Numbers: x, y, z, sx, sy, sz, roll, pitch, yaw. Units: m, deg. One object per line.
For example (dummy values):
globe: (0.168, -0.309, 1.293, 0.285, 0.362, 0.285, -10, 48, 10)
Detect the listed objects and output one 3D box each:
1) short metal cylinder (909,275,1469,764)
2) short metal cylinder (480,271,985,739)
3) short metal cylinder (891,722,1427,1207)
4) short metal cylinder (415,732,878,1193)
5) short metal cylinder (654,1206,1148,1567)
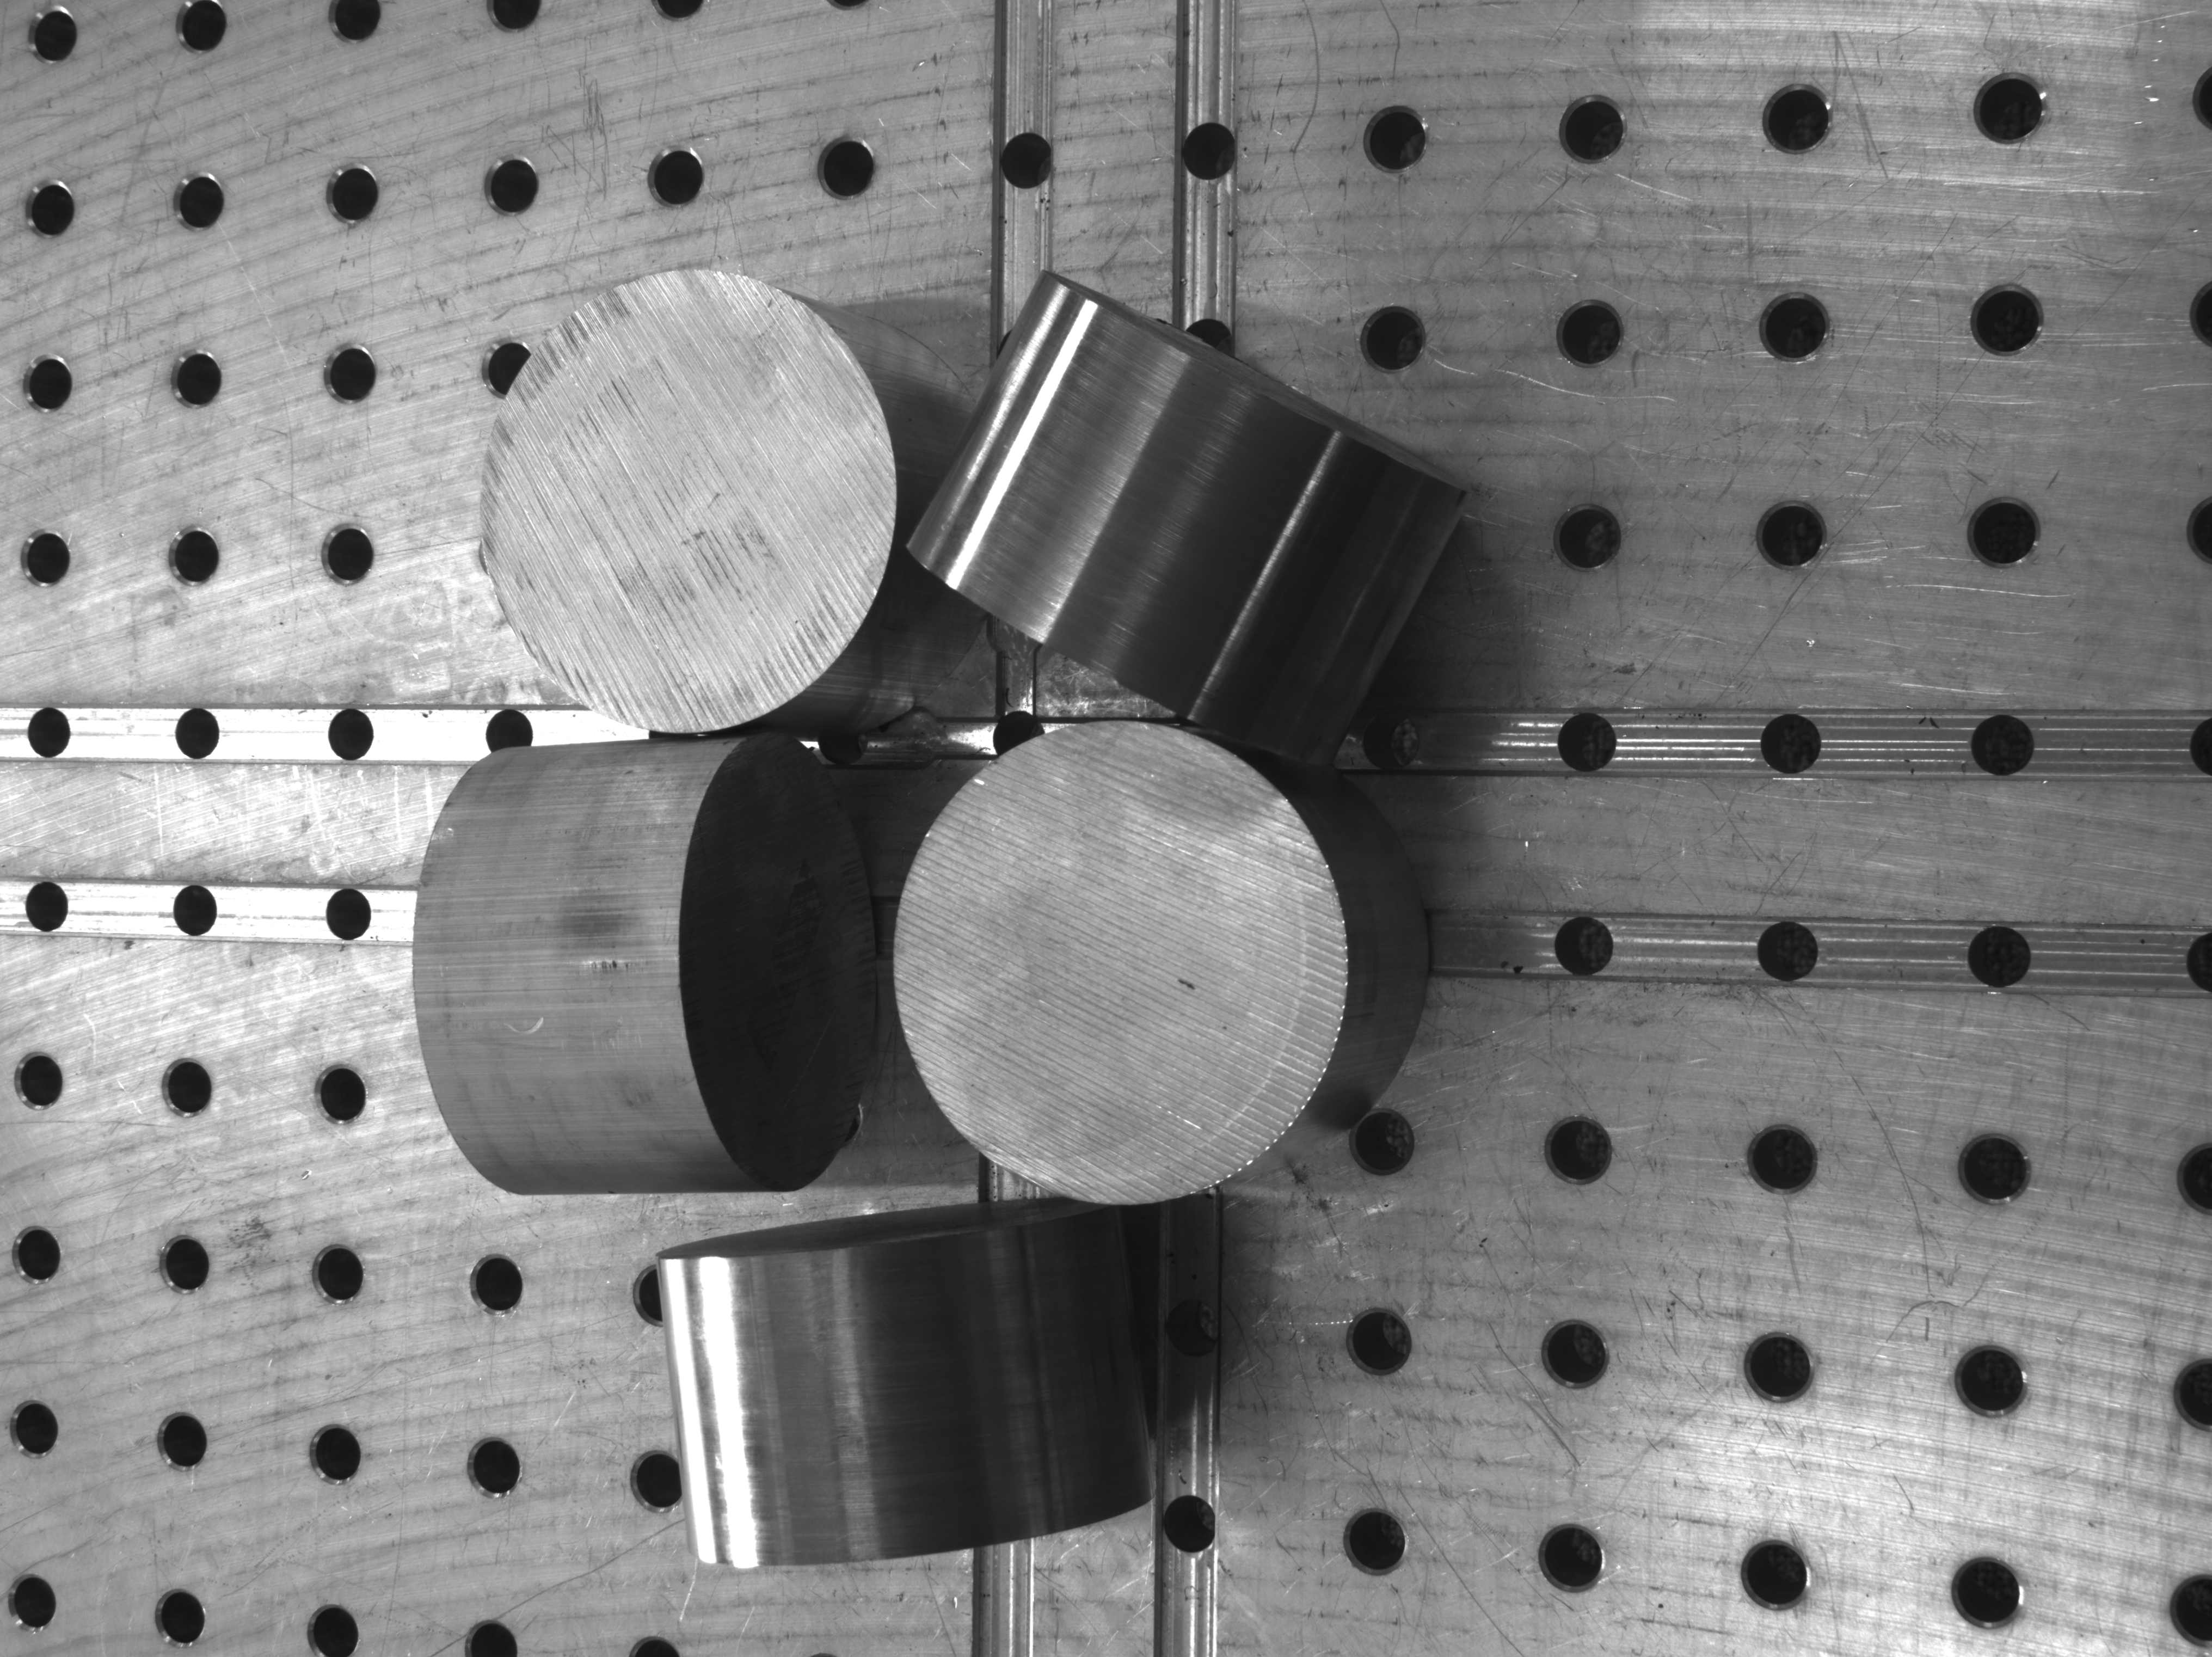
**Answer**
short metal cylinder: (0.014, -0.052, 0.615, 0.080, 0.080, 0.050, 30, 99, 18)
short metal cylinder: (-0.064, -0.056, 0.659, 0.080, 0.050, 0.080, 0, 90, 21)
short metal cylinder: (0.010, 0.022, 0.632, 0.080, 0.050, 0.080, 0, 90, 20)
short metal cylinder: (-0.079, 0.024, 0.649, 0.050, 0.080, 0.080, -3, 89, 20)
short metal cylinder: (-0.035, 0.094, 0.632, 0.080, 0.080, 0.050, -7, 88, 20)
